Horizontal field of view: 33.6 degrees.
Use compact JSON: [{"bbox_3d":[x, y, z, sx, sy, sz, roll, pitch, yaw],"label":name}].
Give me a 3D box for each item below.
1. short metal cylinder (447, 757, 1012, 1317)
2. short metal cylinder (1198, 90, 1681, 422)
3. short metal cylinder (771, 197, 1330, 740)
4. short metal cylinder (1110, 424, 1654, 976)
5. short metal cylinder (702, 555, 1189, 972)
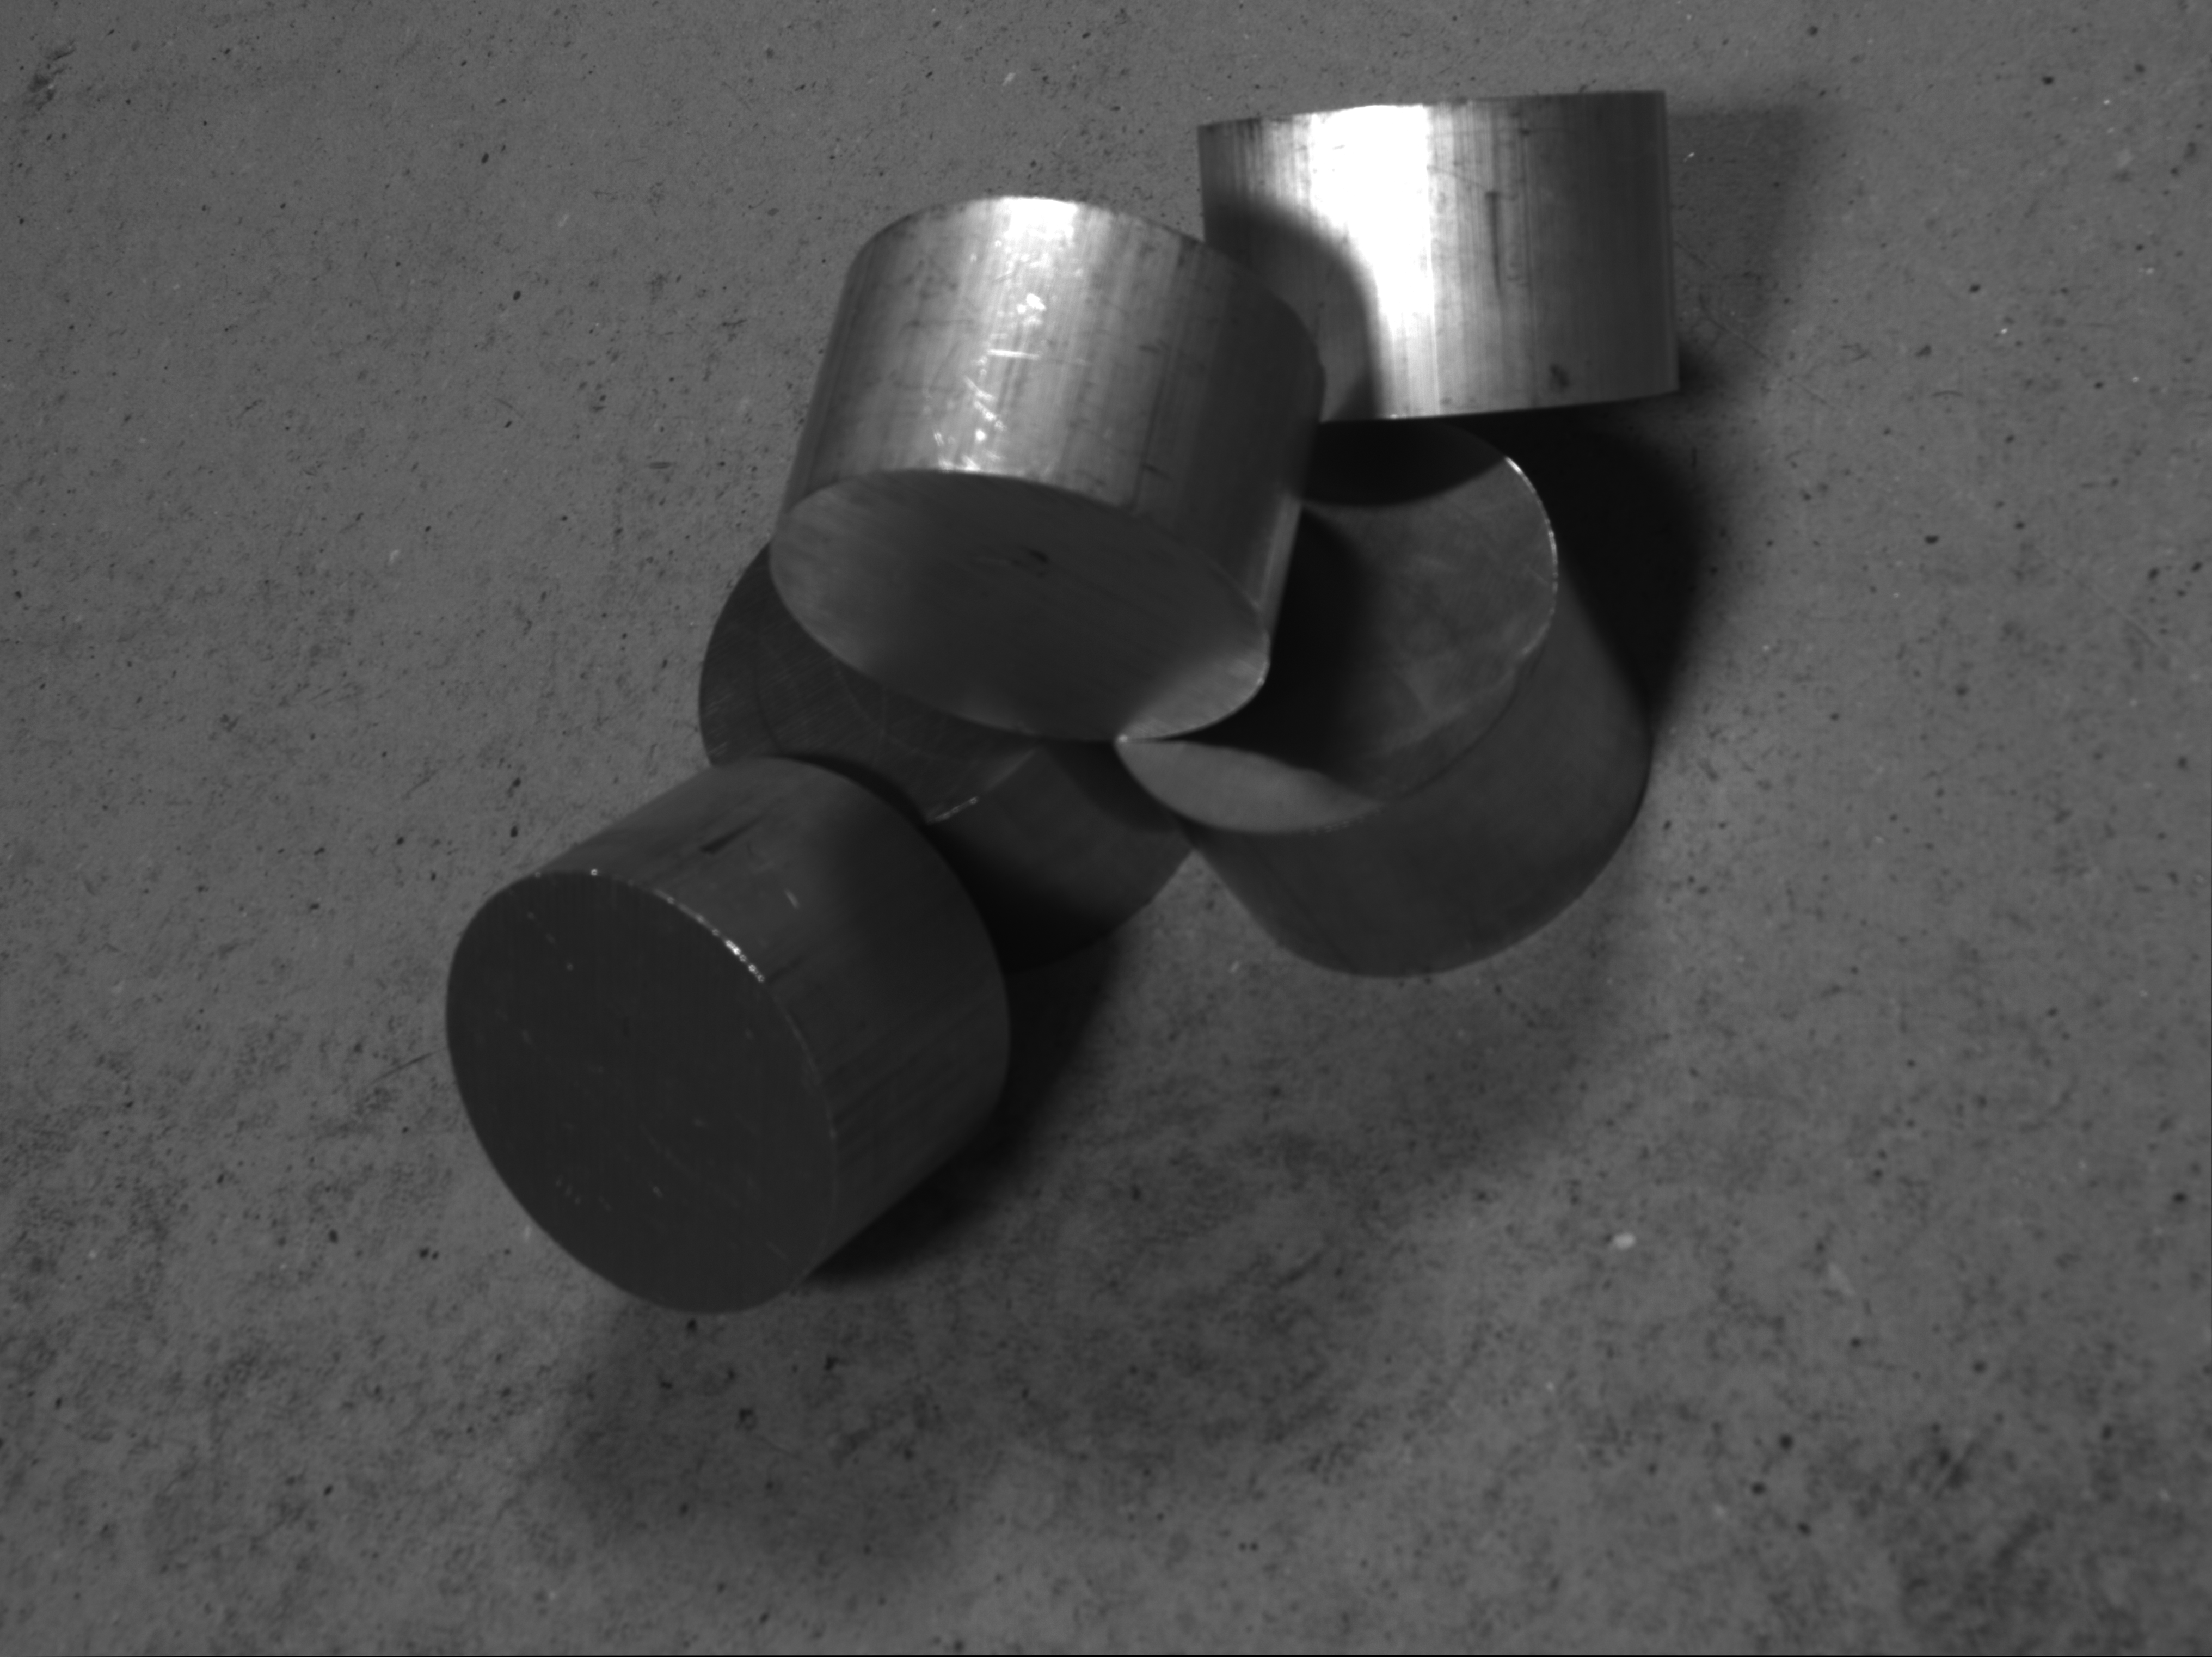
[{"bbox_3d":[-0.063,0.034,0.613,0.080,0.080,0.050,7,26,32],"label":"short metal cylinder"},{"bbox_3d":[0.057,-0.098,0.629,0.080,0.080,0.050,1,100,29],"label":"short metal cylinder"},{"bbox_3d":[-0.008,-0.056,0.583,0.080,0.080,0.050,-2,61,28],"label":"short metal cylinder"},{"bbox_3d":[0.046,-0.022,0.616,0.080,0.050,0.080,-13,56,21],"label":"short metal cylinder"},{"bbox_3d":[-0.025,-0.021,0.654,0.080,0.050,0.080,-13,56,21],"label":"short metal cylinder"}]
